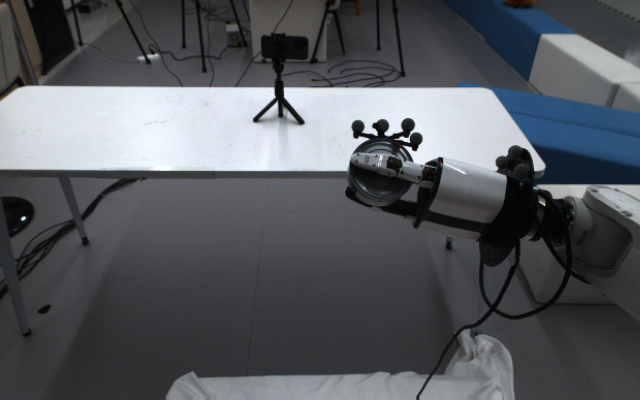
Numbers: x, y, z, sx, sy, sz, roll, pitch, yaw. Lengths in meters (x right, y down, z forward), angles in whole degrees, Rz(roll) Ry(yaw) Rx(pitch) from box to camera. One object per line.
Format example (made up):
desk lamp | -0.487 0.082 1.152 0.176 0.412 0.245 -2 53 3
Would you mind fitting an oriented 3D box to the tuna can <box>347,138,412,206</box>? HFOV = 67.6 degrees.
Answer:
tuna can | 0.079 -0.039 0.633 0.085 0.034 0.085 1 72 -3
